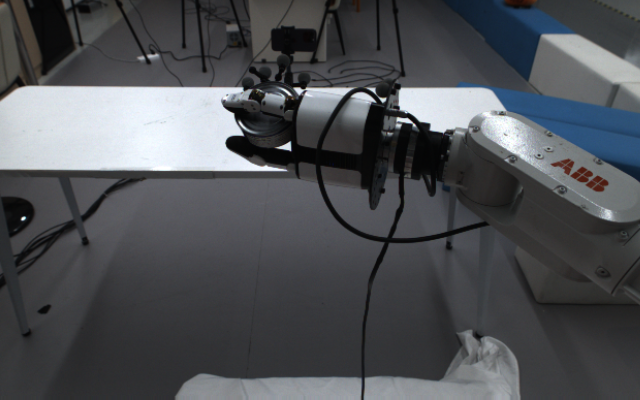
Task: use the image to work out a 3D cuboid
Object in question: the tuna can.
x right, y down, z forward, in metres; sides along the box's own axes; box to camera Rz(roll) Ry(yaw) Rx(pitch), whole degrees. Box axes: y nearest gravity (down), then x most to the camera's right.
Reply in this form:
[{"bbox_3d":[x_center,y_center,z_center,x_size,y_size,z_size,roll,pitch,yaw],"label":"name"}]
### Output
[{"bbox_3d":[-0.066,-0.110,0.629,0.085,0.034,0.085,-6,61,10],"label":"tuna can"}]
